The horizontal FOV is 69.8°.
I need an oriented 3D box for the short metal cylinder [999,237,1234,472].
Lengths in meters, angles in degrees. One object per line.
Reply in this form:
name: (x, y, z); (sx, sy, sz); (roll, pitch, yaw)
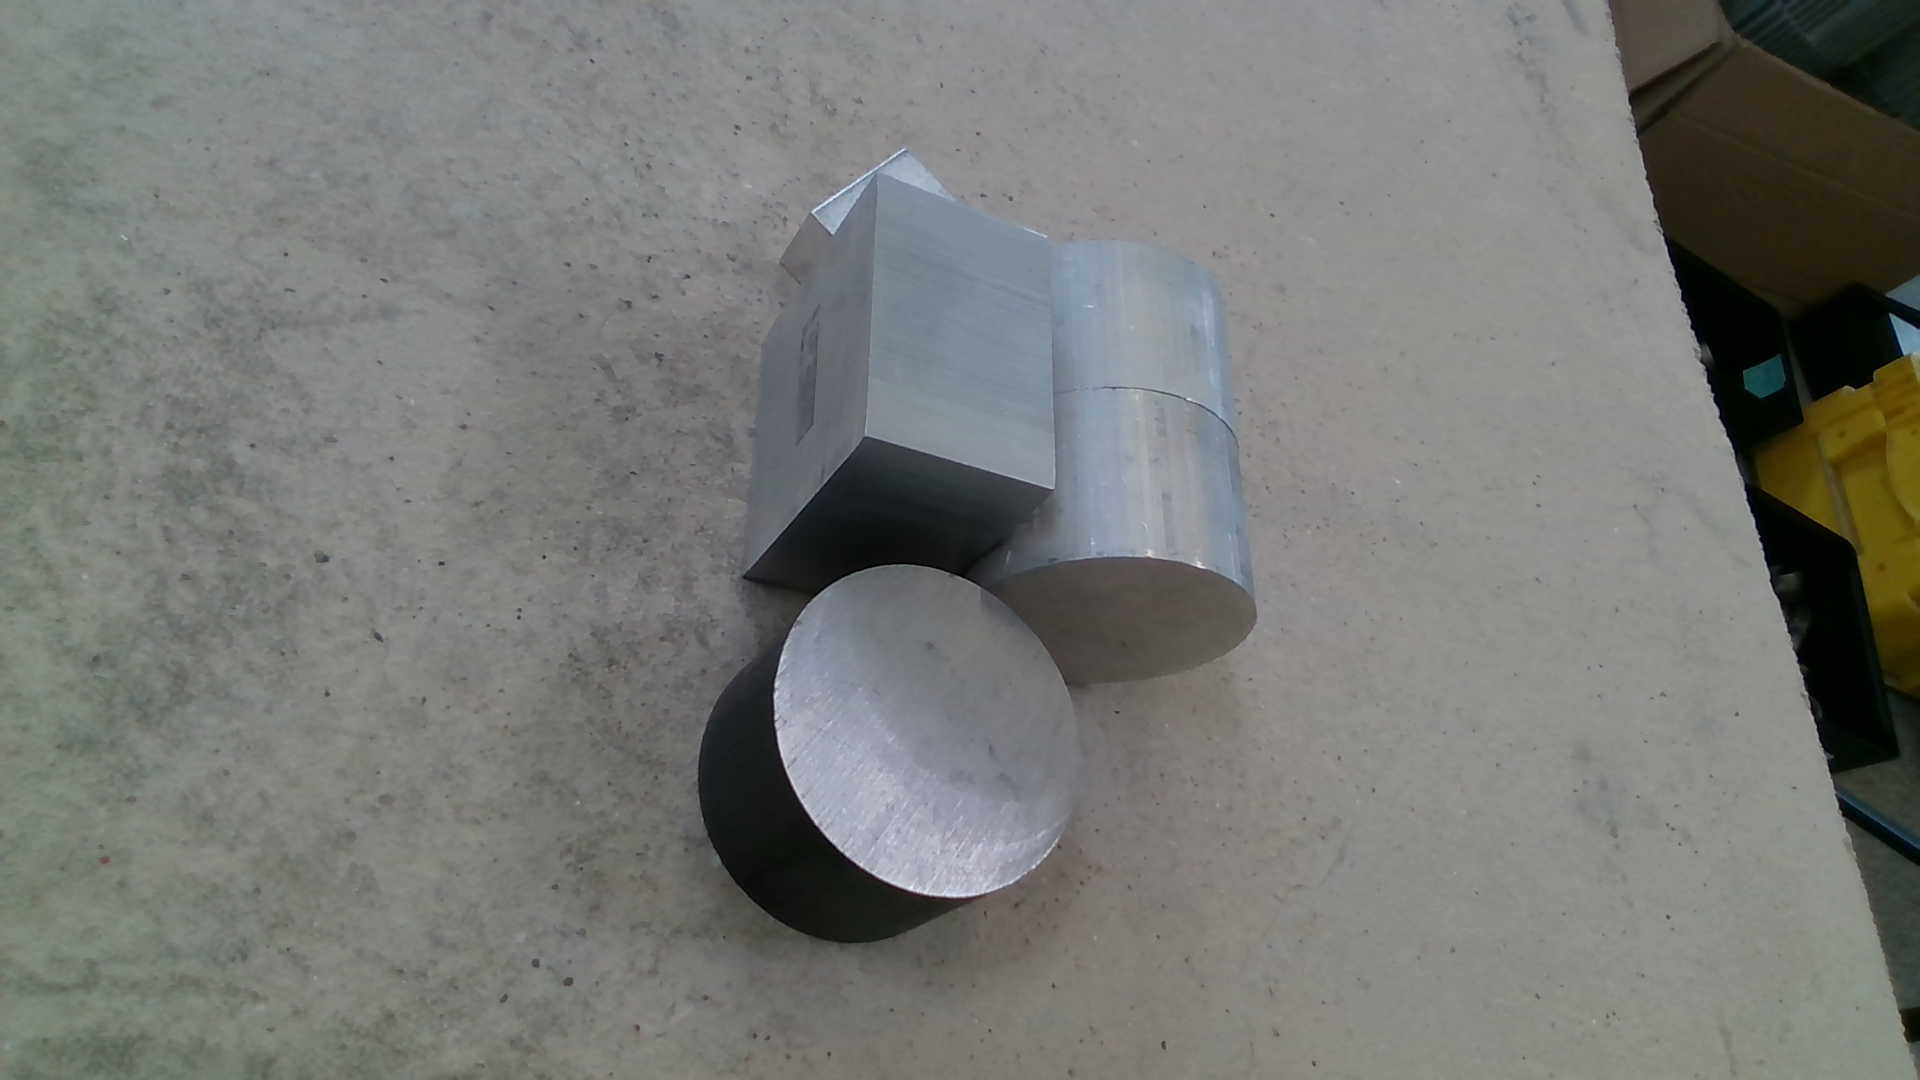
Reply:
short metal cylinder: (0.039, -0.043, 0.406); (0.080, 0.080, 0.050); (15, 58, -24)

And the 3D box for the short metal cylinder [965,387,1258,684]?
short metal cylinder: (0.040, 0.001, 0.382); (0.080, 0.080, 0.050); (15, 58, -24)

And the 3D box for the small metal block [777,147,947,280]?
small metal block: (-0.019, -0.087, 0.429); (0.050, 0.025, 0.050); (46, 51, -3)

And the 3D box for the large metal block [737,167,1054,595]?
large metal block: (-0.018, -0.036, 0.367); (0.050, 0.080, 0.080); (15, 58, -24)

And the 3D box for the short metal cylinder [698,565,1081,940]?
short metal cylinder: (-0.018, 0.053, 0.338); (0.080, 0.050, 0.080); (14, 59, -25)
